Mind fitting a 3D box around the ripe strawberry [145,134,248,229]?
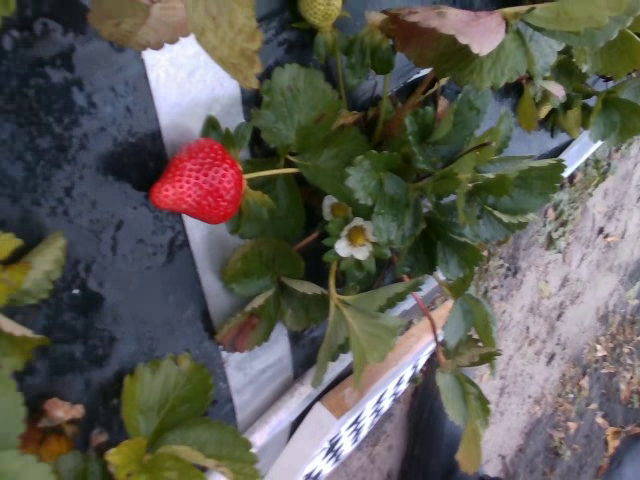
[{"bbox_3d":[-0.055,-0.024,0.258,0.037,0.042,0.051,43,34,17],"label":"ripe strawberry"}]
